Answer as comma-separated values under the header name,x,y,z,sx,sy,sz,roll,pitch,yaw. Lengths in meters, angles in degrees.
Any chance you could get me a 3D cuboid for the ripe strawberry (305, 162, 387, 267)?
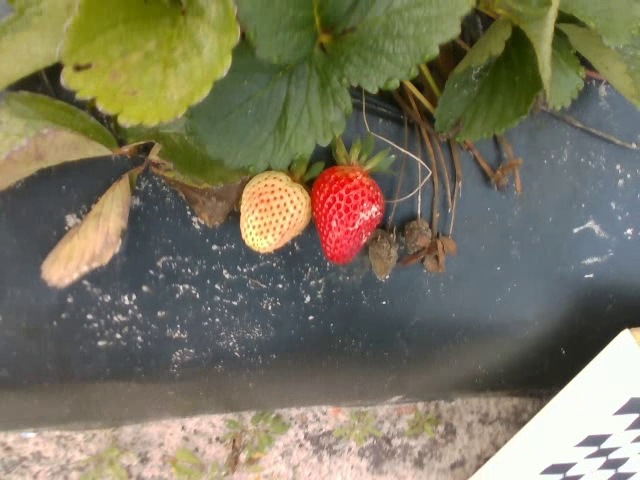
name,x,y,z,sx,sy,sz,roll,pitch,yaw
ripe strawberry,0.010,-0.009,0.225,0.034,0.042,0.033,30,-27,-35
